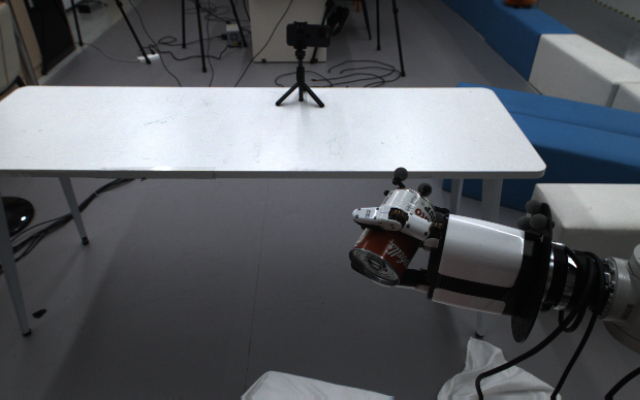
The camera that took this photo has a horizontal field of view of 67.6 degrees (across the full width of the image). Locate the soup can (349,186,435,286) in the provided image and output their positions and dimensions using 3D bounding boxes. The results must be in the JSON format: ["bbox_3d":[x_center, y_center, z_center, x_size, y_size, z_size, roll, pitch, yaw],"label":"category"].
[{"bbox_3d":[0.090,0.042,0.582,0.067,0.067,0.101,22,60,27],"label":"soup can"}]
